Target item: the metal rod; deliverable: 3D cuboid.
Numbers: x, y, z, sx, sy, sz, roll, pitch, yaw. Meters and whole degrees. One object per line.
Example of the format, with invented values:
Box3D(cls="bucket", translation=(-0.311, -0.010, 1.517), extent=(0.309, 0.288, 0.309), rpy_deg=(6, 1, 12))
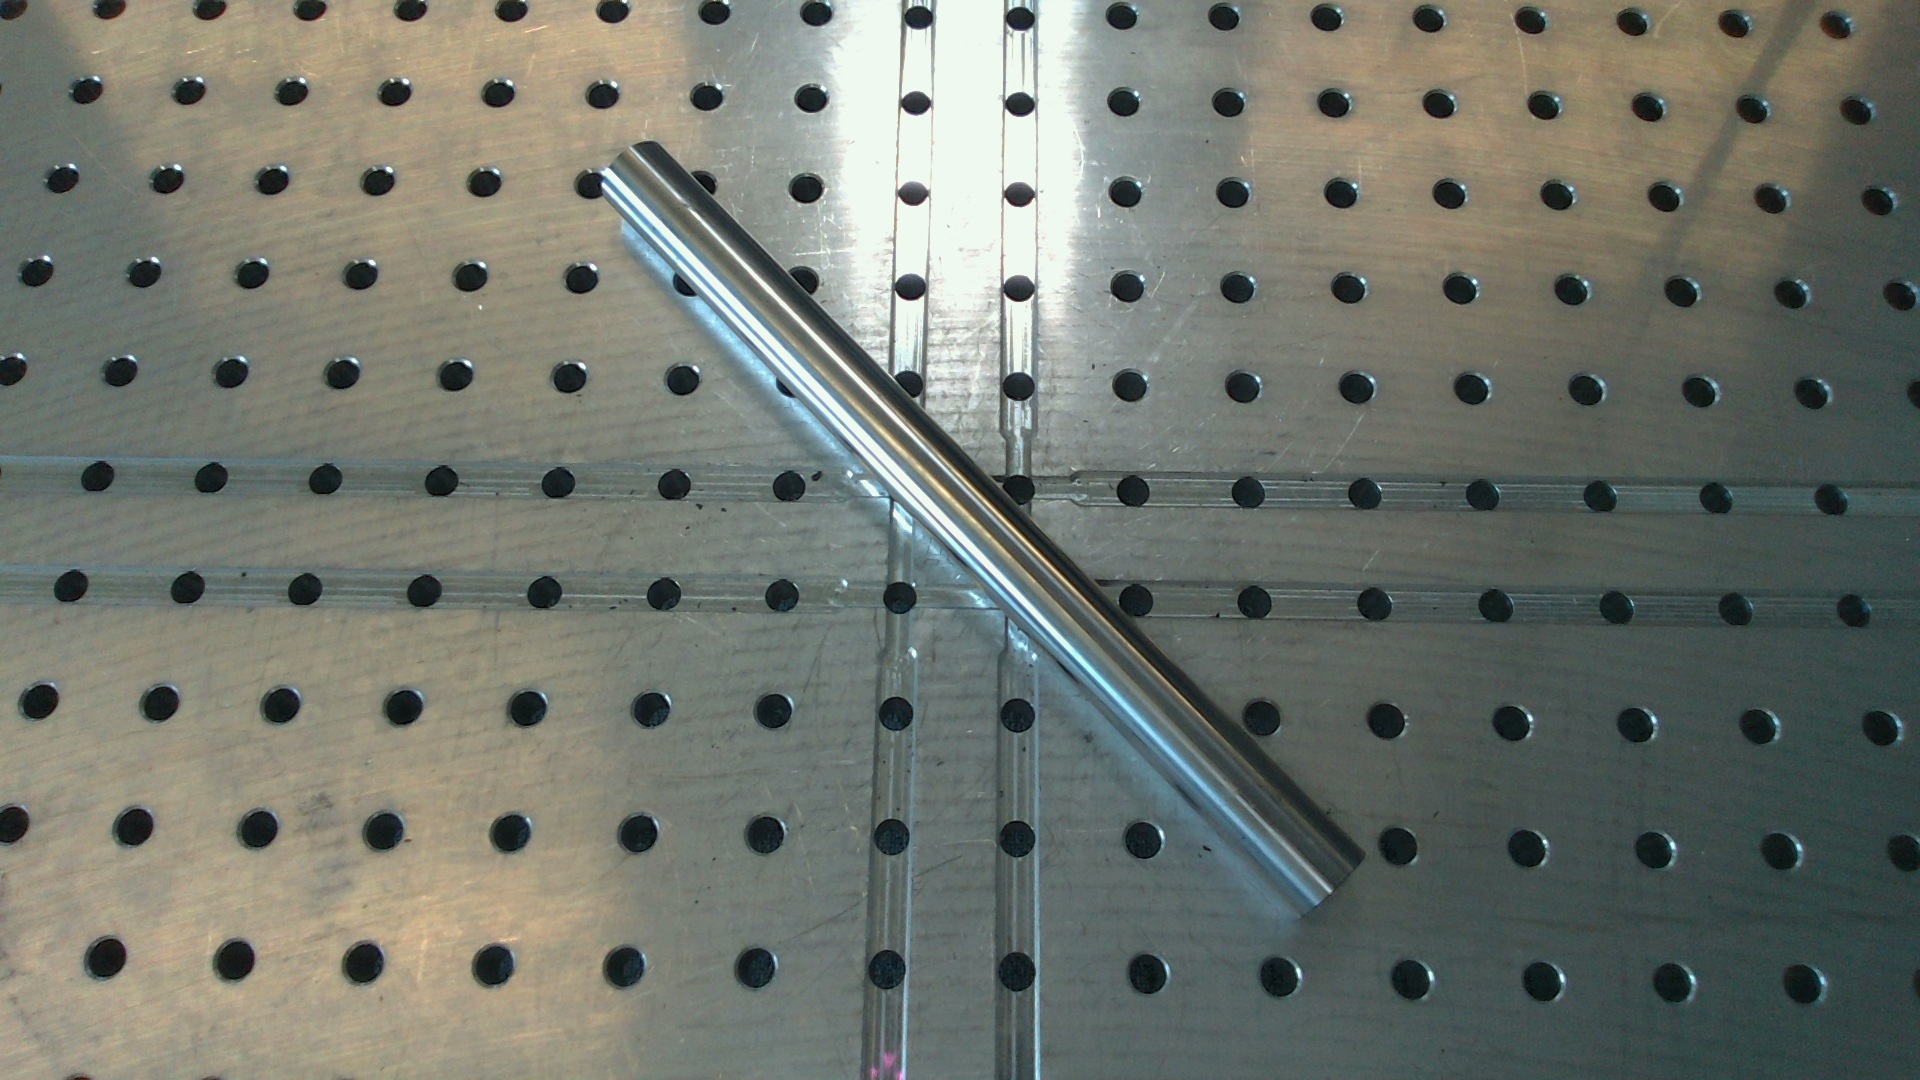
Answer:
Box3D(cls="metal rod", translation=(-0.004, -0.013, 0.402), extent=(0.025, 0.025, 0.300), rpy_deg=(-41, 75, -13))
